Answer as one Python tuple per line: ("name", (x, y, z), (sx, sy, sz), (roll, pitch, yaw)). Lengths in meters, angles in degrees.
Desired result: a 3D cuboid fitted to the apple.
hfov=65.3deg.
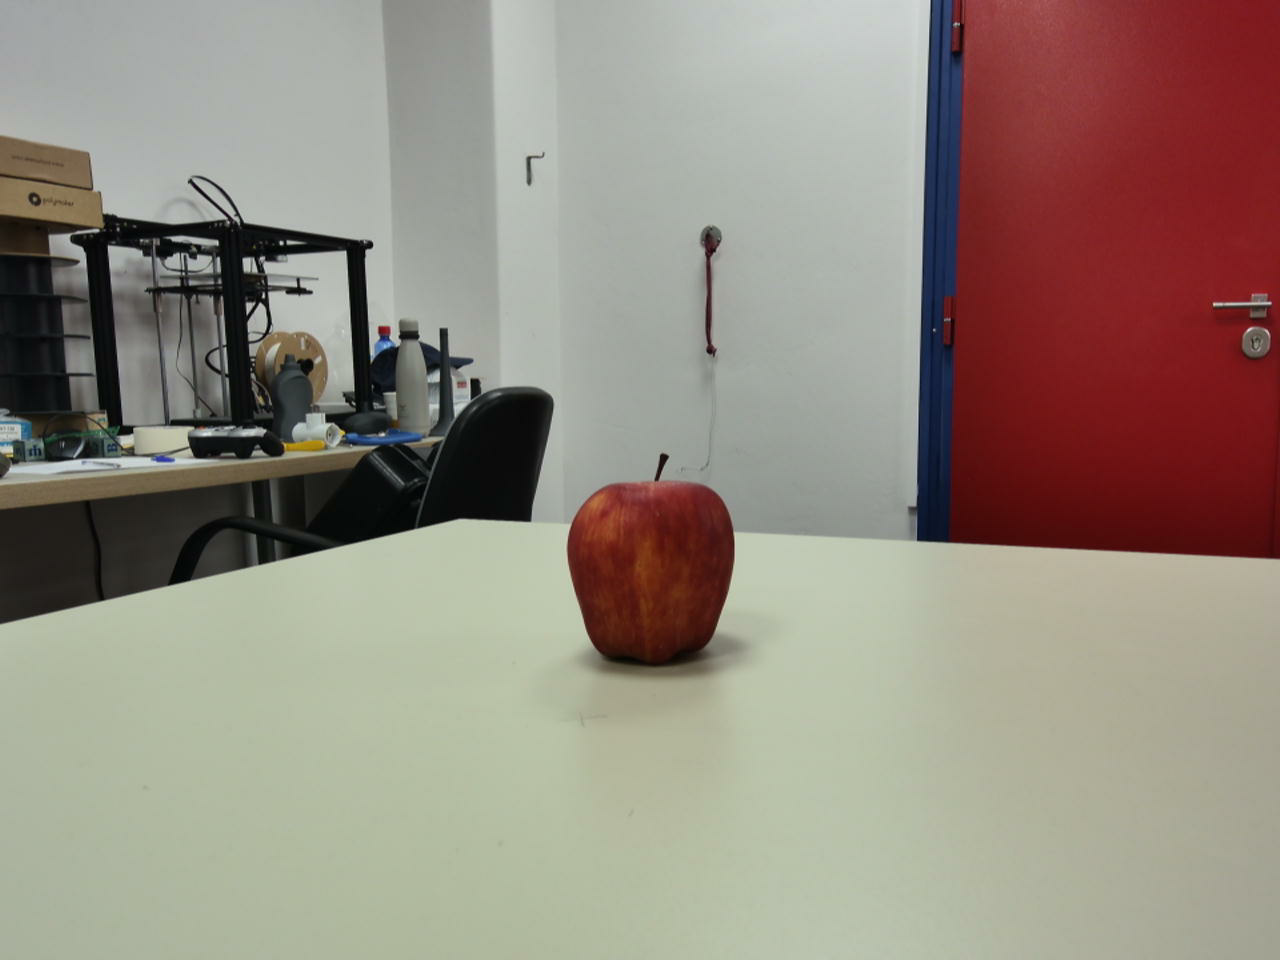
("apple", (0.005, 0.033, 0.452), (0.083, 0.090, 0.083), (-1, 3, 0))
